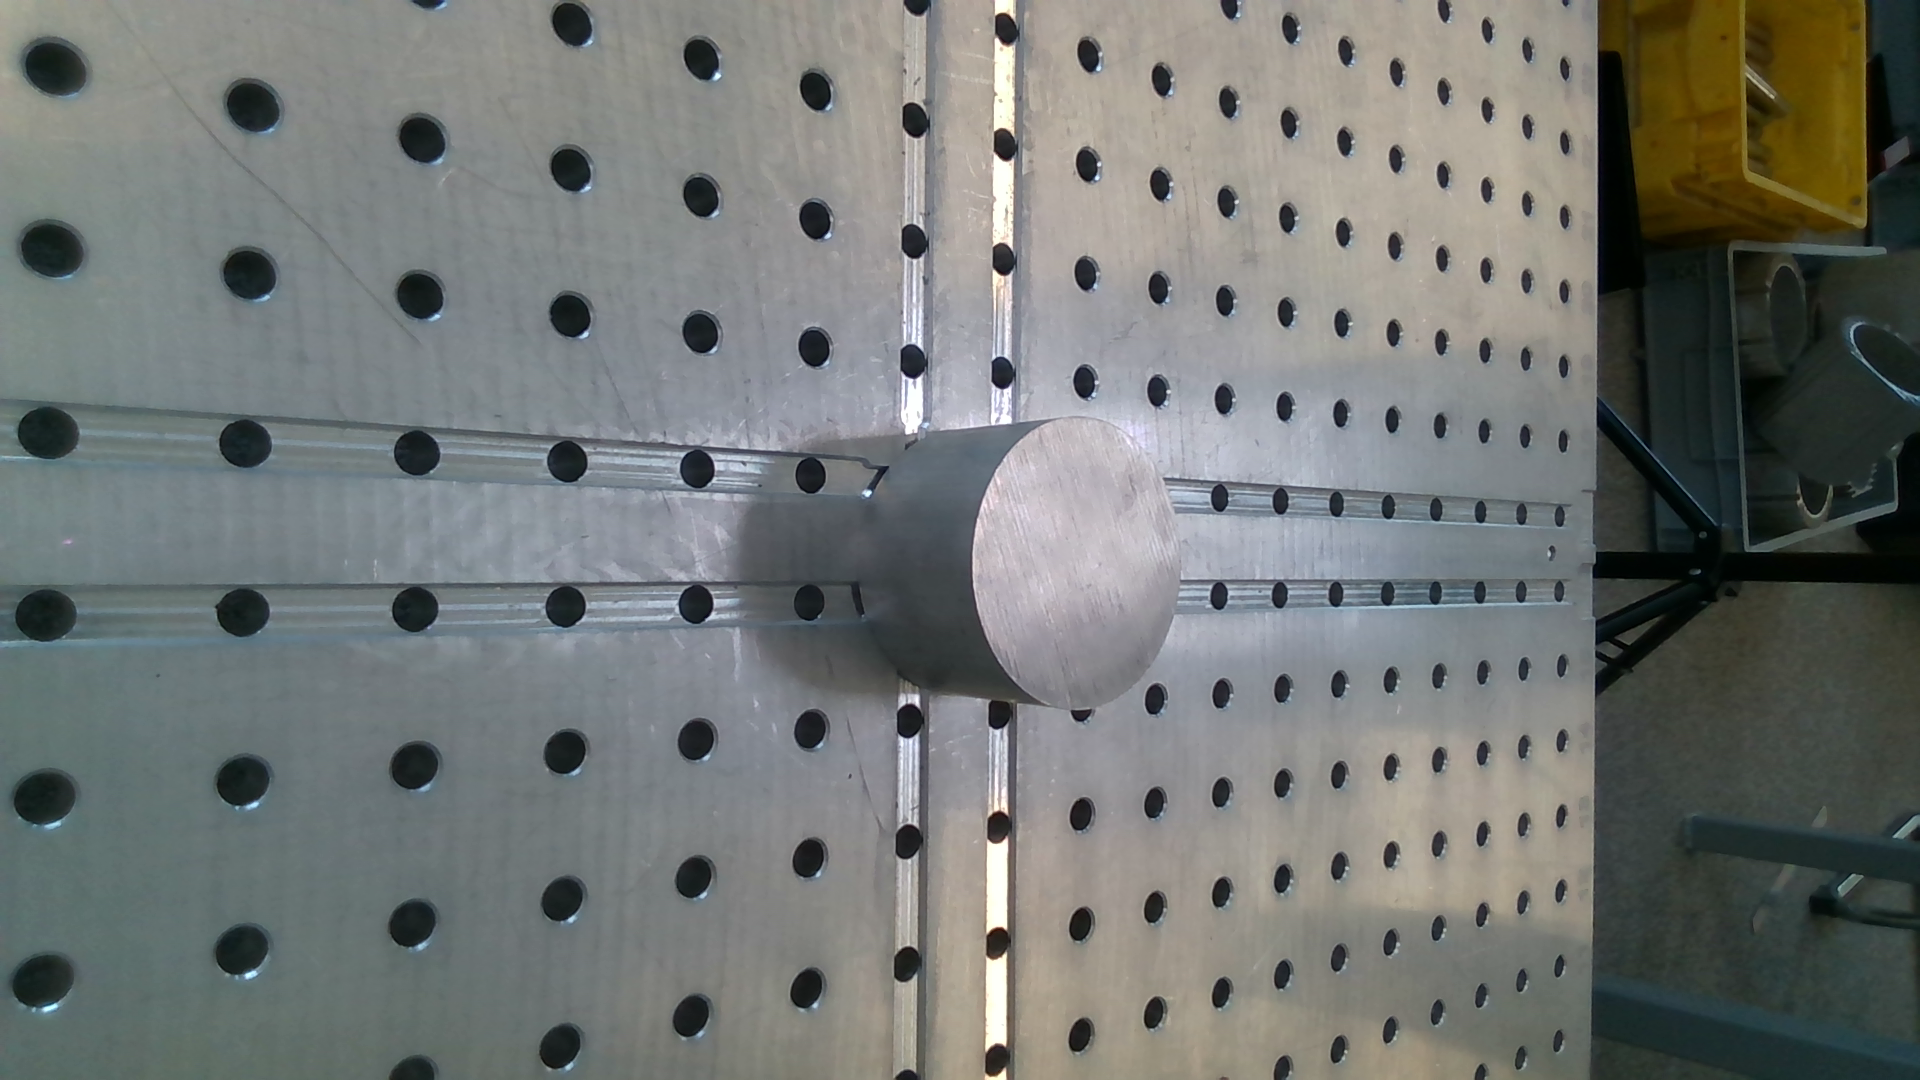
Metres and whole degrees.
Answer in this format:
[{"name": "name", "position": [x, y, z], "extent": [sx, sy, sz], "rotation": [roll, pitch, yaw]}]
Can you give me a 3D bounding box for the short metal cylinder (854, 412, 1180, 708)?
[{"name": "short metal cylinder", "position": [0.017, 0.006, 0.392], "extent": [0.080, 0.050, 0.080], "rotation": [0, 90, -40]}]
